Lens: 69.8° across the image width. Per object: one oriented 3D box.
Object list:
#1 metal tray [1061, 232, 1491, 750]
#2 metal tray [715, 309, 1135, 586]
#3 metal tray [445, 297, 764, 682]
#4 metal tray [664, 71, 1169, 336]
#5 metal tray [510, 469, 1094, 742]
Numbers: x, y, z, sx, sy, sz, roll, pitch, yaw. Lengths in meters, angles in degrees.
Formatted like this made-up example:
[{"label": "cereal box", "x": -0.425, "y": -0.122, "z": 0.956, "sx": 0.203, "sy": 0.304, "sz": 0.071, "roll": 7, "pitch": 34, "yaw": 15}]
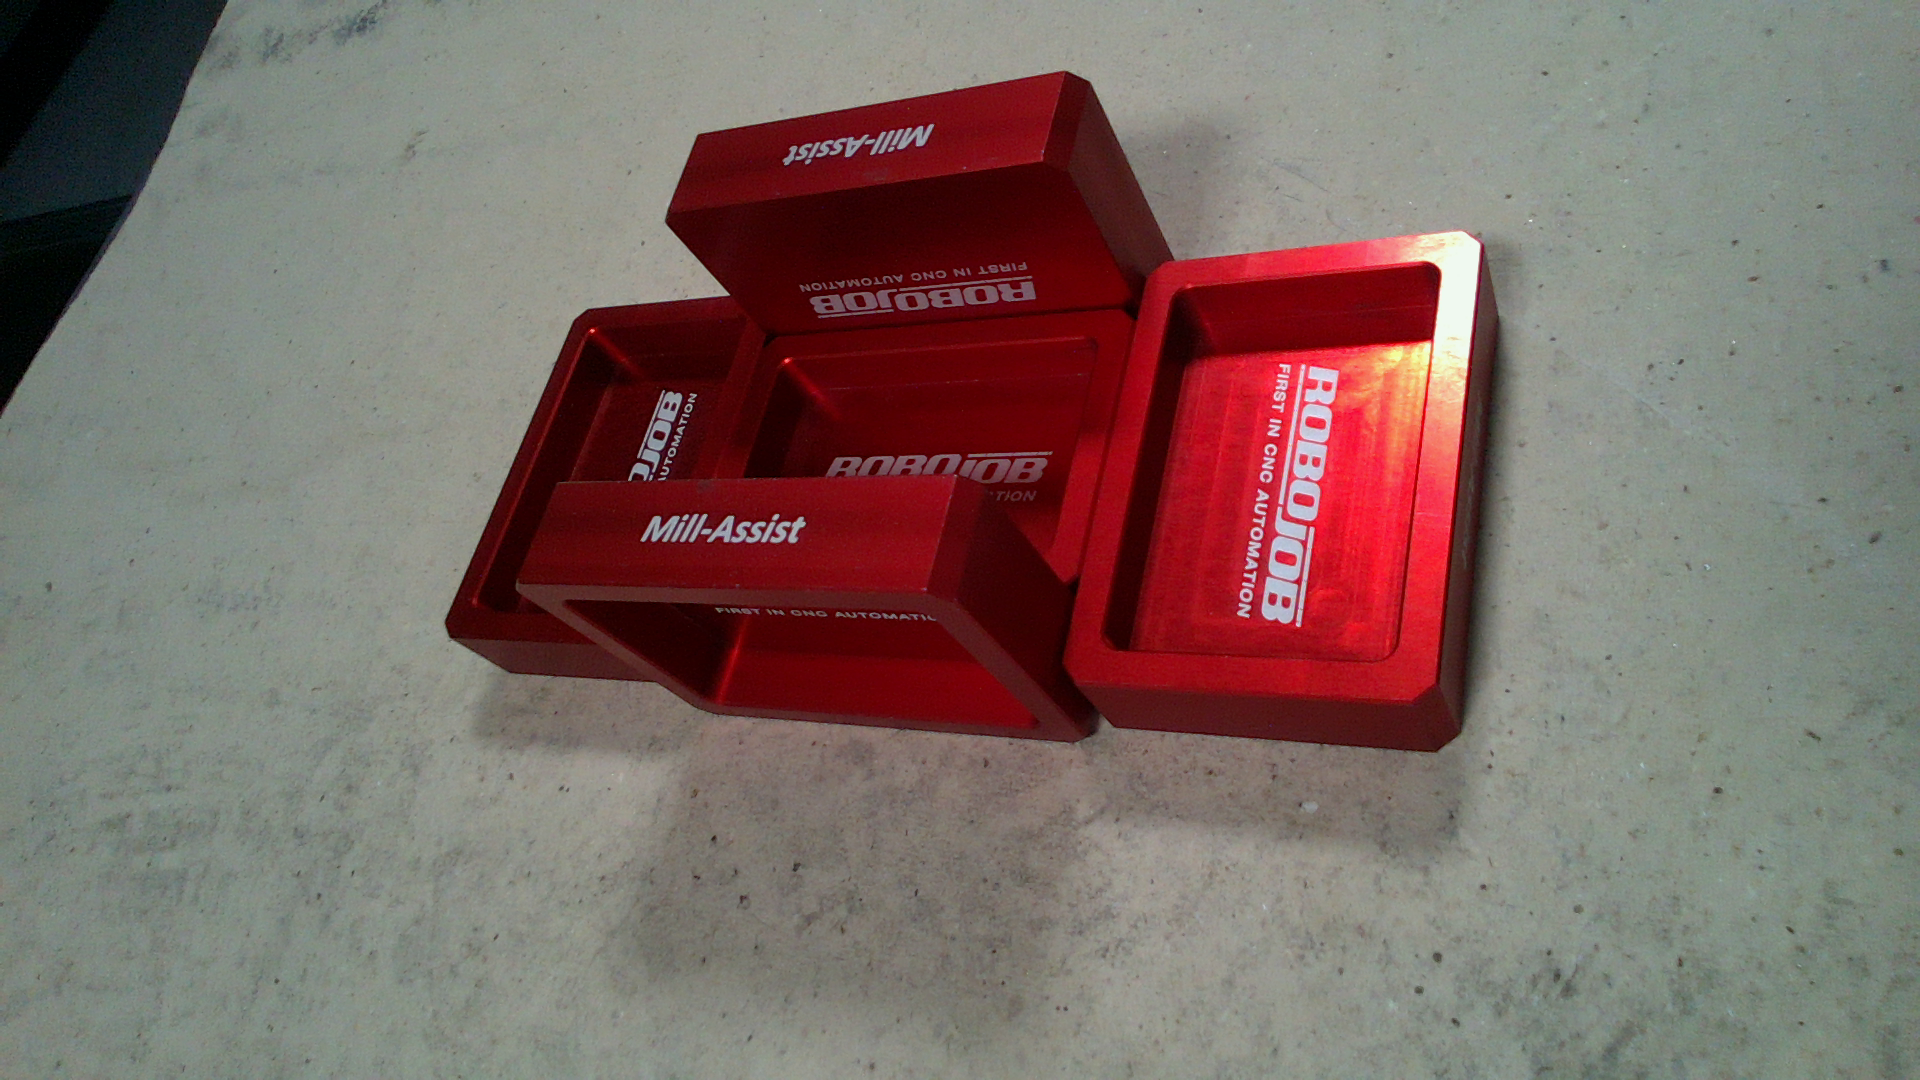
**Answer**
[{"label": "metal tray", "x": 0.084, "y": -0.015, "z": 0.354, "sx": 0.090, "sy": 0.030, "sz": 0.130, "roll": 0, "pitch": 62, "yaw": 29}, {"label": "metal tray", "x": -0.012, "y": -0.020, "z": 0.409, "sx": 0.130, "sy": 0.030, "sz": 0.090, "roll": 1, "pitch": 62, "yaw": 29}, {"label": "metal tray", "x": -0.108, "y": -0.019, "z": 0.461, "sx": 0.090, "sy": 0.030, "sz": 0.130, "roll": 0, "pitch": 62, "yaw": 29}, {"label": "metal tray", "x": -0.010, "y": -0.087, "z": 0.411, "sx": 0.130, "sy": 0.090, "sz": 0.030, "roll": 0, "pitch": 62, "yaw": 29}, {"label": "metal tray", "x": -0.039, "y": 0.018, "z": 0.360, "sx": 0.130, "sy": 0.090, "sz": 0.030, "roll": 0, "pitch": 62, "yaw": 29}]
